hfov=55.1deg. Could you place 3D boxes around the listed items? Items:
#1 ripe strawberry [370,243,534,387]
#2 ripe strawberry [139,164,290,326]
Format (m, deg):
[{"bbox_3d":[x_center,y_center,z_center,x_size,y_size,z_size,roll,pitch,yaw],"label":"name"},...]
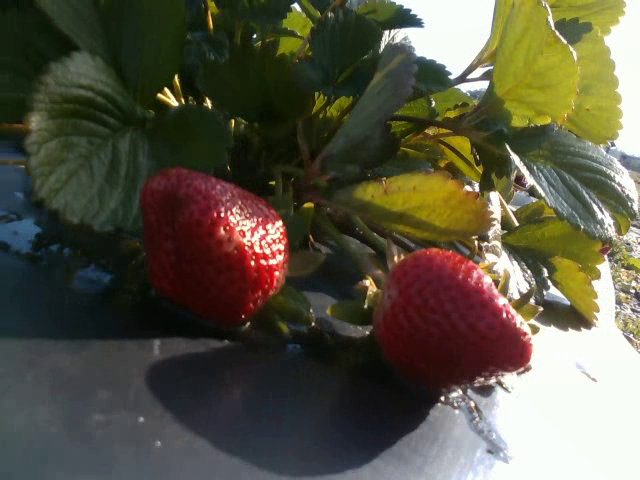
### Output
[{"bbox_3d":[0.039,0.020,0.163,0.043,0.039,0.053,34,-13,-28],"label":"ripe strawberry"},{"bbox_3d":[-0.028,0.000,0.167,0.039,0.048,0.054,-30,-30,4],"label":"ripe strawberry"}]
